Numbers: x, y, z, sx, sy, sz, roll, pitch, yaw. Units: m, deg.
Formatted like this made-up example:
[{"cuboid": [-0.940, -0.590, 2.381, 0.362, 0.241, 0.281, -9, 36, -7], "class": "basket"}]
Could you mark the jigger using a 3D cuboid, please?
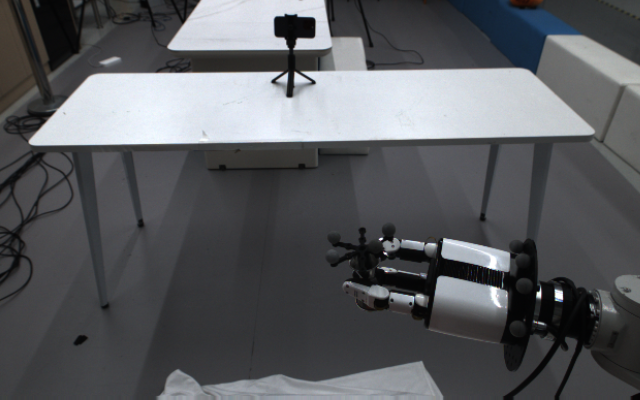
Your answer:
[{"cuboid": [0.063, 0.103, 0.626, 0.043, 0.071, 0.043, -10, 32, 6], "class": "jigger"}]
